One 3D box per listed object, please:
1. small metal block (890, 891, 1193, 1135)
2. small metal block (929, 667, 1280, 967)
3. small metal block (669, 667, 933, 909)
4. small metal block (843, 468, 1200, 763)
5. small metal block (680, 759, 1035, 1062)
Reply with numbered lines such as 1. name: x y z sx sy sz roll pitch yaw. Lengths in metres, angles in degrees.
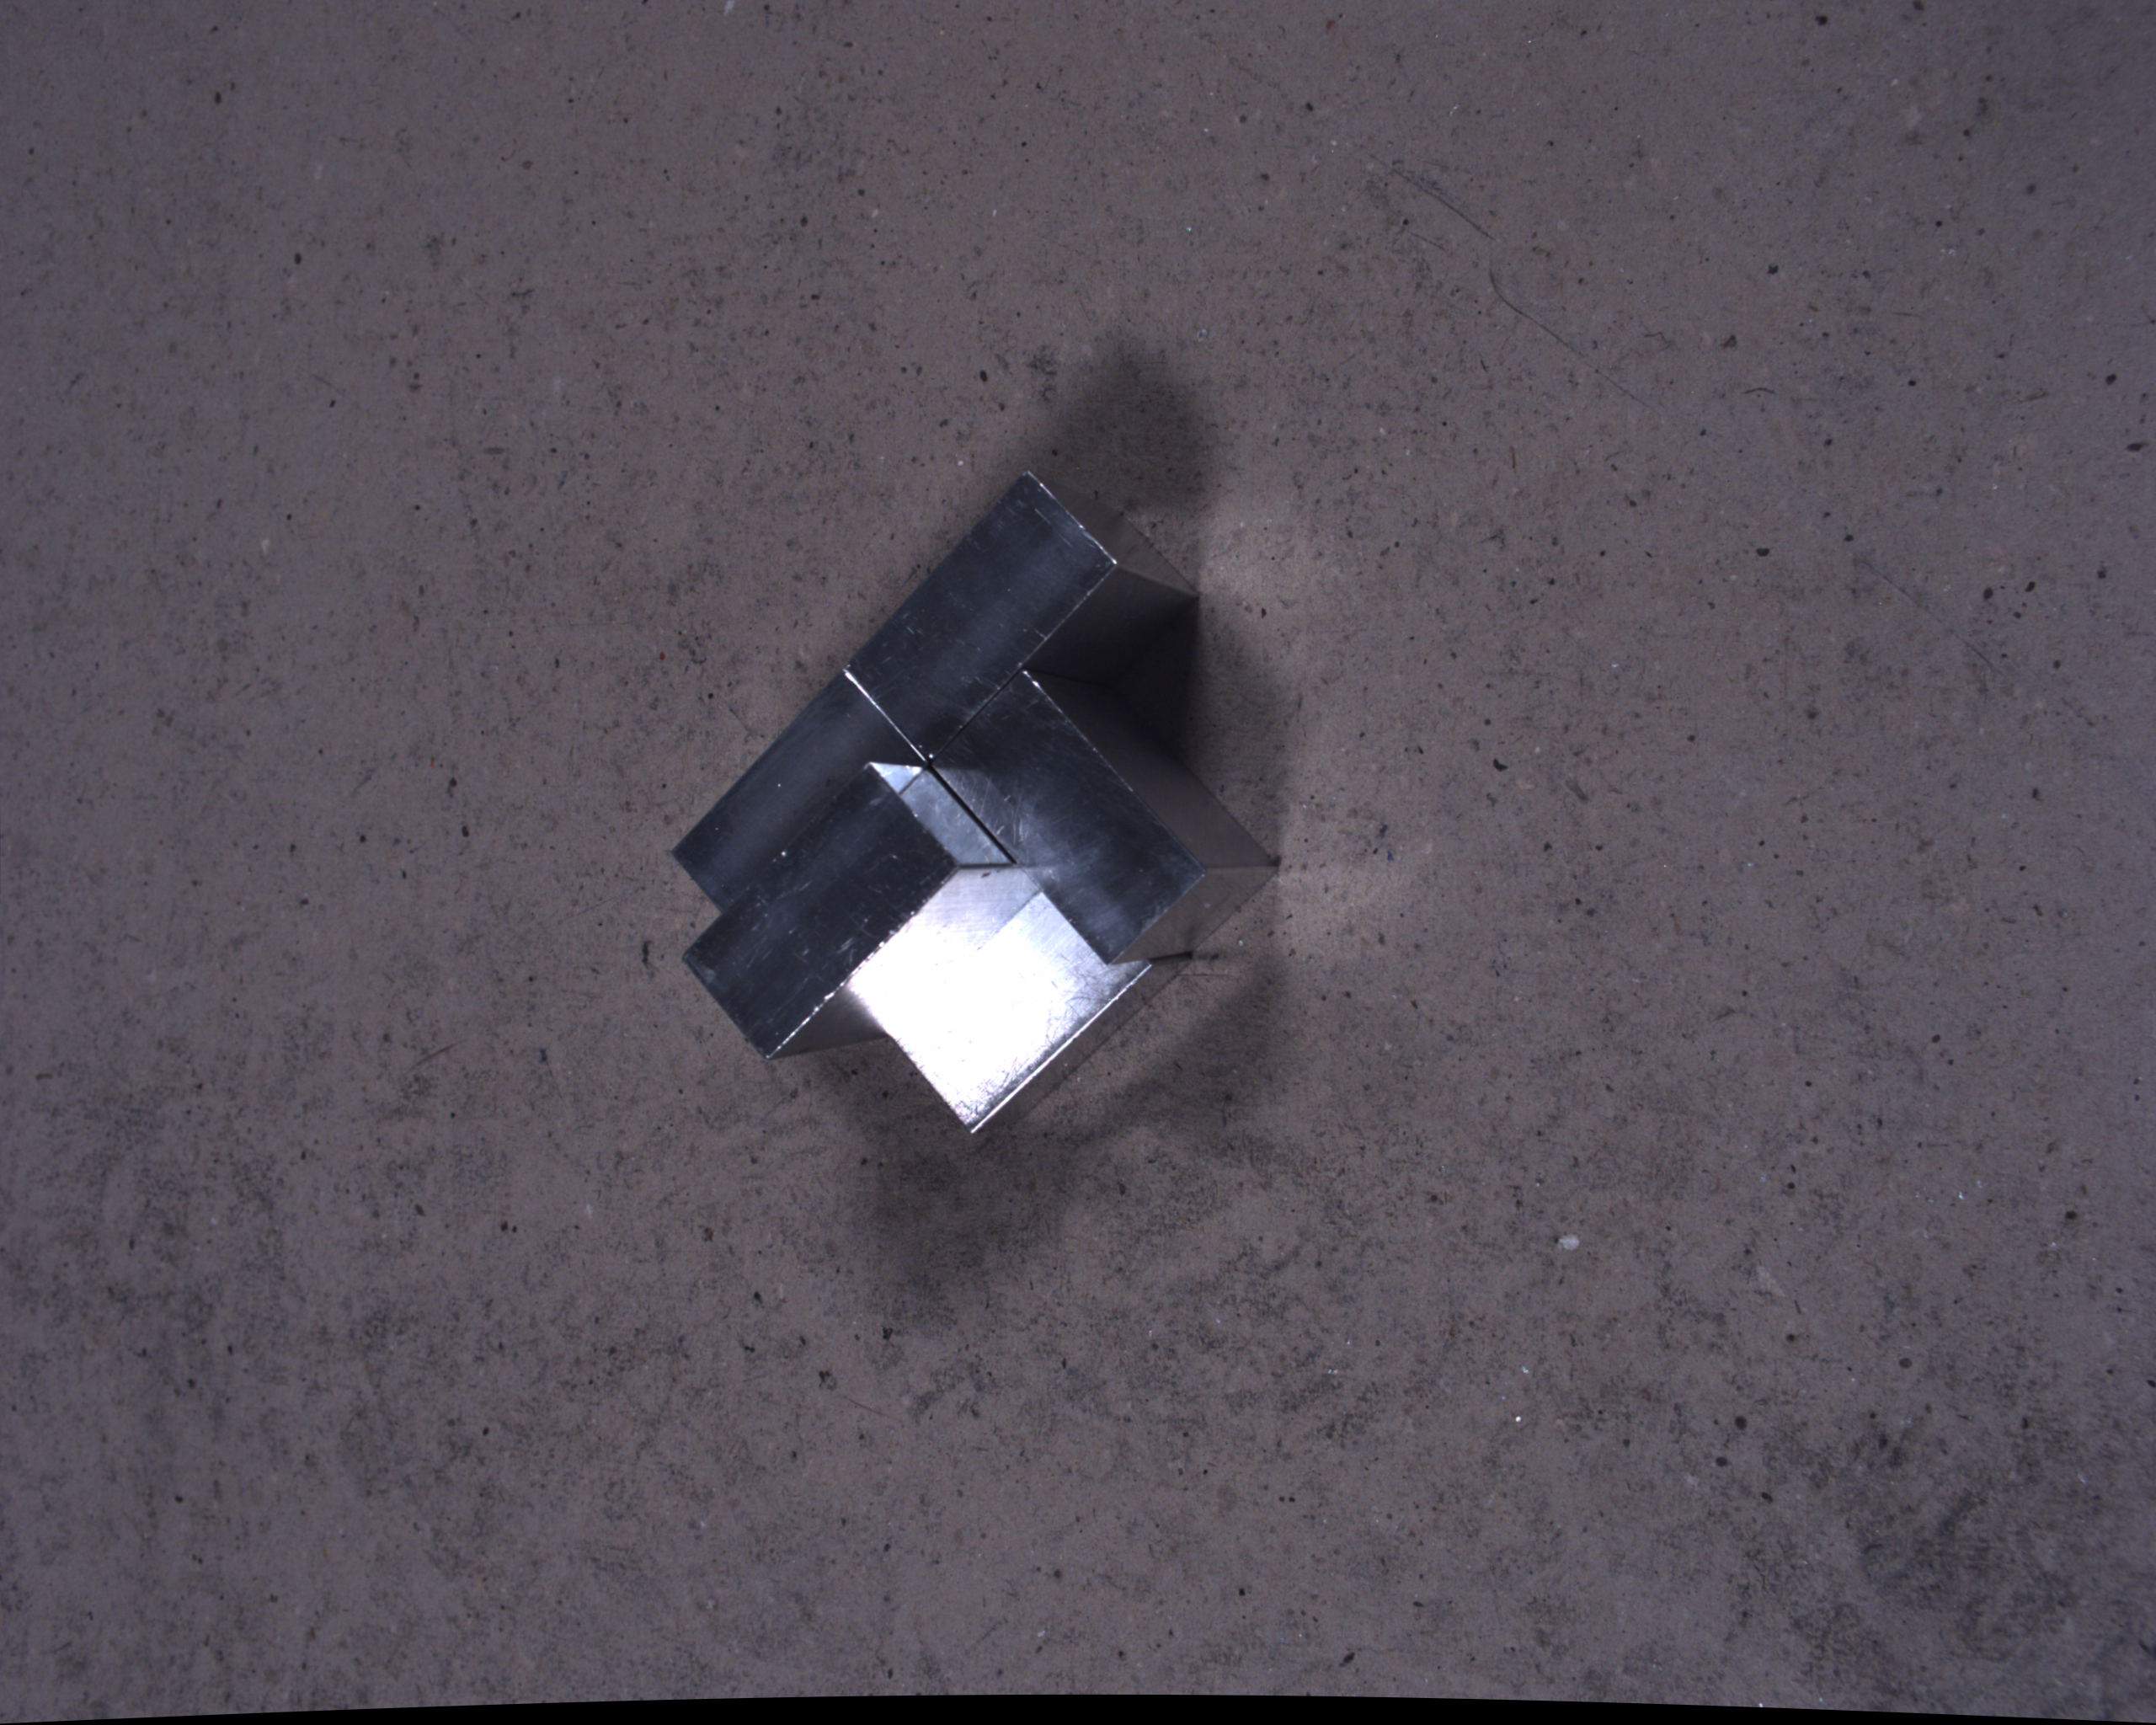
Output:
1. small metal block: -0.015 0.018 0.415 0.050 0.025 0.050 -44 77 14
2. small metal block: 0.006 -0.008 0.394 0.025 0.050 0.050 -45 77 14
3. small metal block: -0.044 -0.010 0.411 0.050 0.050 0.025 -45 76 14
4. small metal block: -0.010 -0.044 0.399 0.050 0.050 0.025 -45 76 14
5. small metal block: -0.036 0.008 0.382 0.050 0.050 0.025 -45 76 14
